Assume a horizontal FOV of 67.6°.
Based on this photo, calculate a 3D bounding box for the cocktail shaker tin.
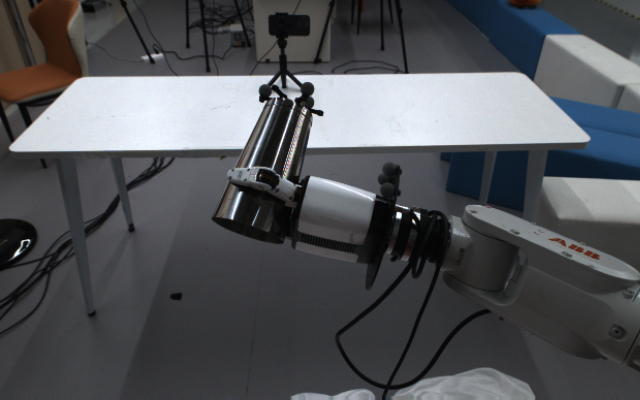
[{"bbox_3d":[-0.065,-0.040,0.613,0.093,0.093,0.170,13,73,15],"label":"cocktail shaker tin"}]
